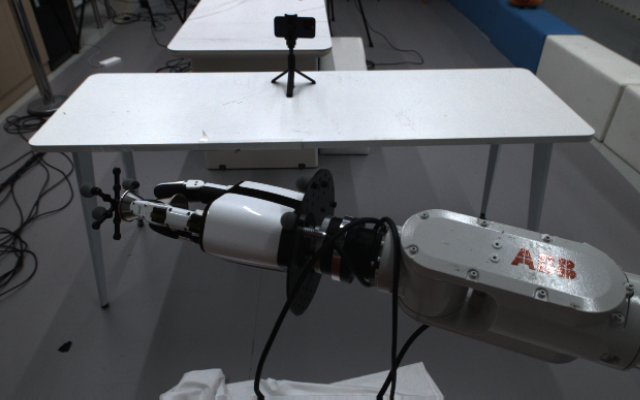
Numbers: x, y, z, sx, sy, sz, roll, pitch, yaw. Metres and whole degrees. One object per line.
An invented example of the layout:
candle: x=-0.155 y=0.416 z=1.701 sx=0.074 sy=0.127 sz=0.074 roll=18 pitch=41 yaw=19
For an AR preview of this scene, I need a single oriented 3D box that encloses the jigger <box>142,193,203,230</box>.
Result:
jigger: x=-0.189 y=0.007 z=0.575 sx=0.071 sy=0.043 sz=0.043 roll=5 pitch=34 yaw=15
